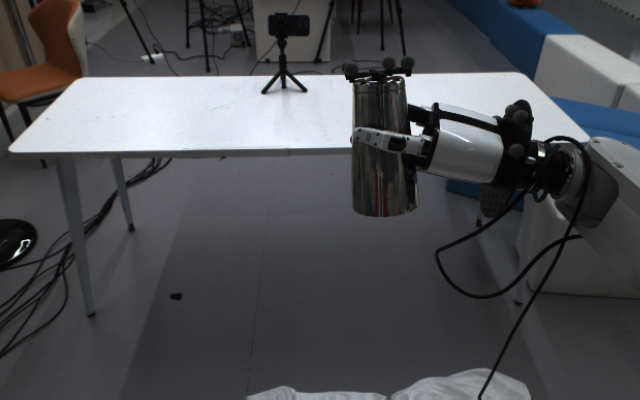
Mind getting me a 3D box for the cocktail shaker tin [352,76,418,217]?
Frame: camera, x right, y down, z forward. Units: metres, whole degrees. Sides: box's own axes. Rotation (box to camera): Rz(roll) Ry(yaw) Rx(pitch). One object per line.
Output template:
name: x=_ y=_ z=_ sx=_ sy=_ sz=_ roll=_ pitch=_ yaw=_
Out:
cocktail shaker tin: x=0.082 y=-0.074 z=0.643 sx=0.093 sy=0.170 sz=0.093 roll=-6 pitch=19 yaw=2
